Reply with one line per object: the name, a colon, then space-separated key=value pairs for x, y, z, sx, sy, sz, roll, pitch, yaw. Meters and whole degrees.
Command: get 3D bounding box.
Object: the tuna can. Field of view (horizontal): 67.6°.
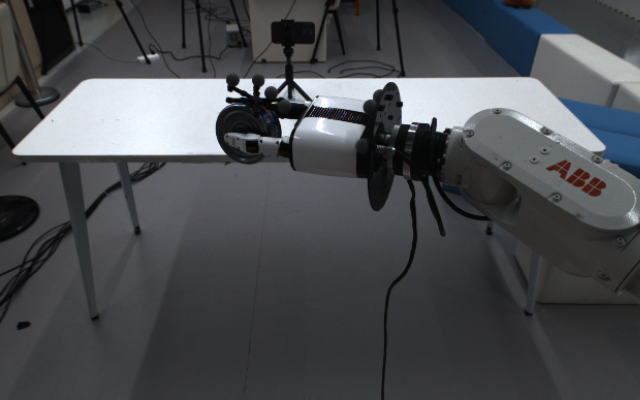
tuna can: x=-0.094 y=-0.087 z=0.653 sx=0.085 sy=0.085 sz=0.034 roll=15 pitch=31 yaw=18
